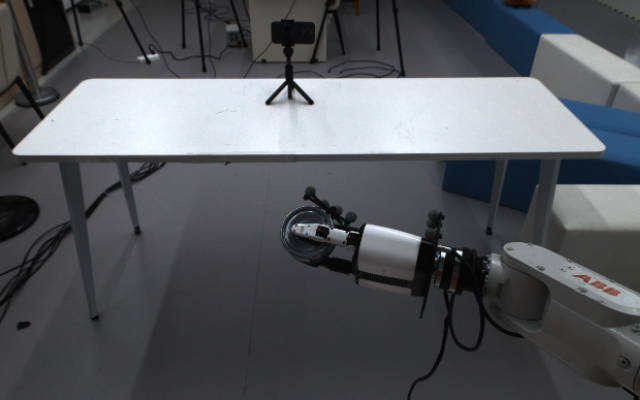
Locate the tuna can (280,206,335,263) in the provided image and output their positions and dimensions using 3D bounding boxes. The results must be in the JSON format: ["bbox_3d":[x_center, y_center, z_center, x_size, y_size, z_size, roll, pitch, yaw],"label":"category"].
[{"bbox_3d":[-0.015,0.052,0.746,0.085,0.034,0.085,-4,69,10],"label":"tuna can"}]
